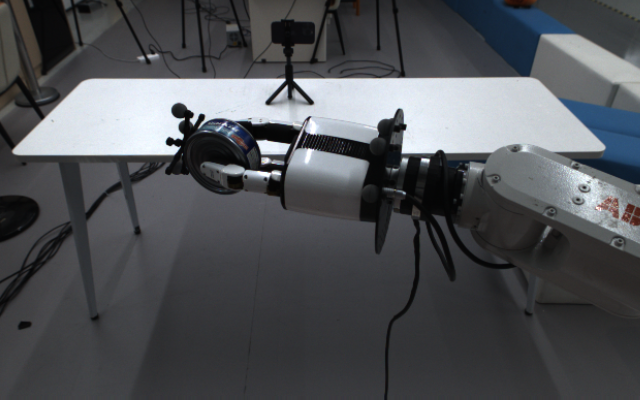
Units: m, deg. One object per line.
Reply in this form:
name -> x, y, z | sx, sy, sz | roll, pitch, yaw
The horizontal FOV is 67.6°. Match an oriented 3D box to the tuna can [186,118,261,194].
tuna can -> -0.110, -0.045, 0.563 | 0.085, 0.085, 0.034 | 11, 35, 13
